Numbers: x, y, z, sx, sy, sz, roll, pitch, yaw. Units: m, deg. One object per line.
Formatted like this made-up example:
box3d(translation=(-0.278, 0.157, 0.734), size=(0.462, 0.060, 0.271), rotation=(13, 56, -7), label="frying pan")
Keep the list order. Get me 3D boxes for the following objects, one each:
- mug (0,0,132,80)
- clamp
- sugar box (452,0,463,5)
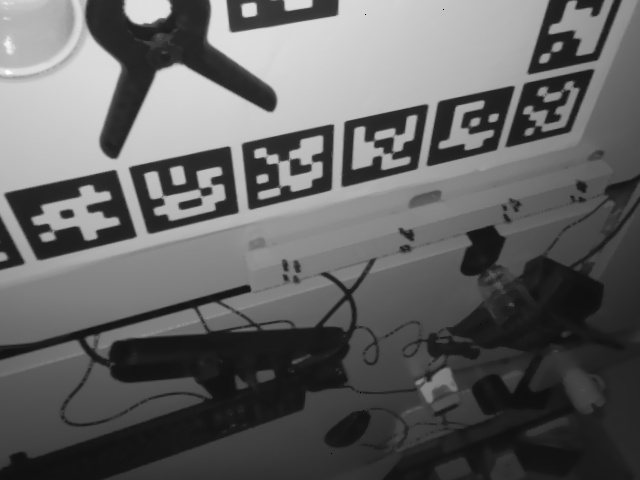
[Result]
box3d(translation=(-0.192, -0.179, 0.479), size=(0.093, 0.081, 0.117), rotation=(-31, 144, 8), label="mug")
box3d(translation=(-0.117, -0.161, 0.588), size=(0.166, 0.037, 0.201), rotation=(-21, 140, -6), label="clamp")
box3d(translation=(0.103, -0.275, 0.547), size=(0.092, 0.045, 0.178), rotation=(-38, 146, 15), label="sugar box")
